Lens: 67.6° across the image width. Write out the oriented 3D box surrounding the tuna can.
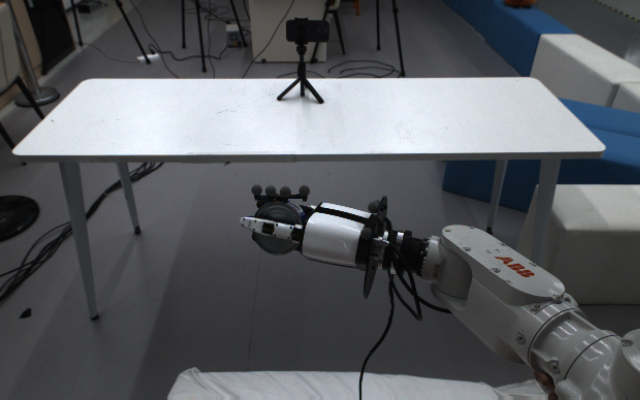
[{"bbox_3d":[-0.062,0.044,0.771,0.085,0.085,0.034,12,8,14],"label":"tuna can"}]
